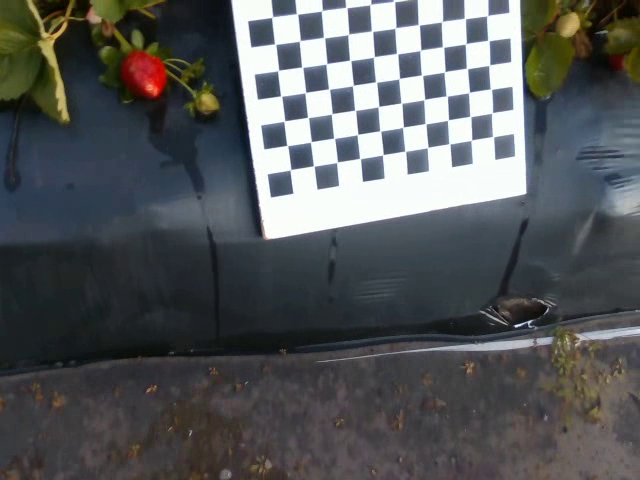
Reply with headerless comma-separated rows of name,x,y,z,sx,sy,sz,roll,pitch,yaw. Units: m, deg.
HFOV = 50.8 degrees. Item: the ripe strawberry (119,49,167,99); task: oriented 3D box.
ripe strawberry,-0.163,-0.152,0.638,0.043,0.057,0.052,-34,-44,2
